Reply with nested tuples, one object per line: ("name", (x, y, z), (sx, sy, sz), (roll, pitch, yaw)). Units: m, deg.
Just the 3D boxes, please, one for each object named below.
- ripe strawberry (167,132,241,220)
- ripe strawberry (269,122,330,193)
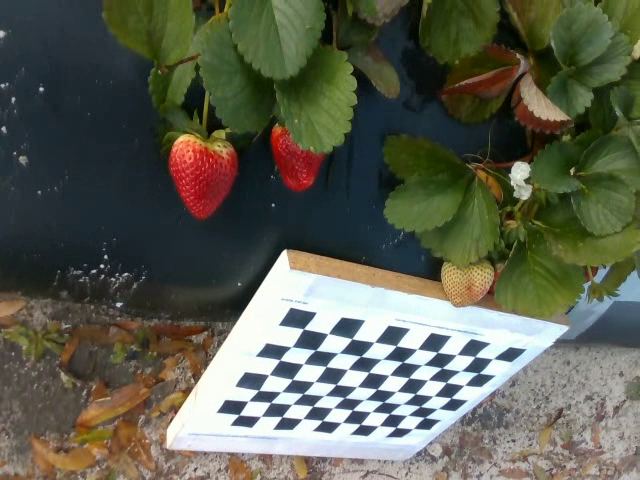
("ripe strawberry", (-0.077, -0.041, 0.400), (0.050, 0.061, 0.045), (7, 6, -16))
("ripe strawberry", (-0.013, -0.056, 0.409), (0.042, 0.053, 0.034), (3, 11, -12))
